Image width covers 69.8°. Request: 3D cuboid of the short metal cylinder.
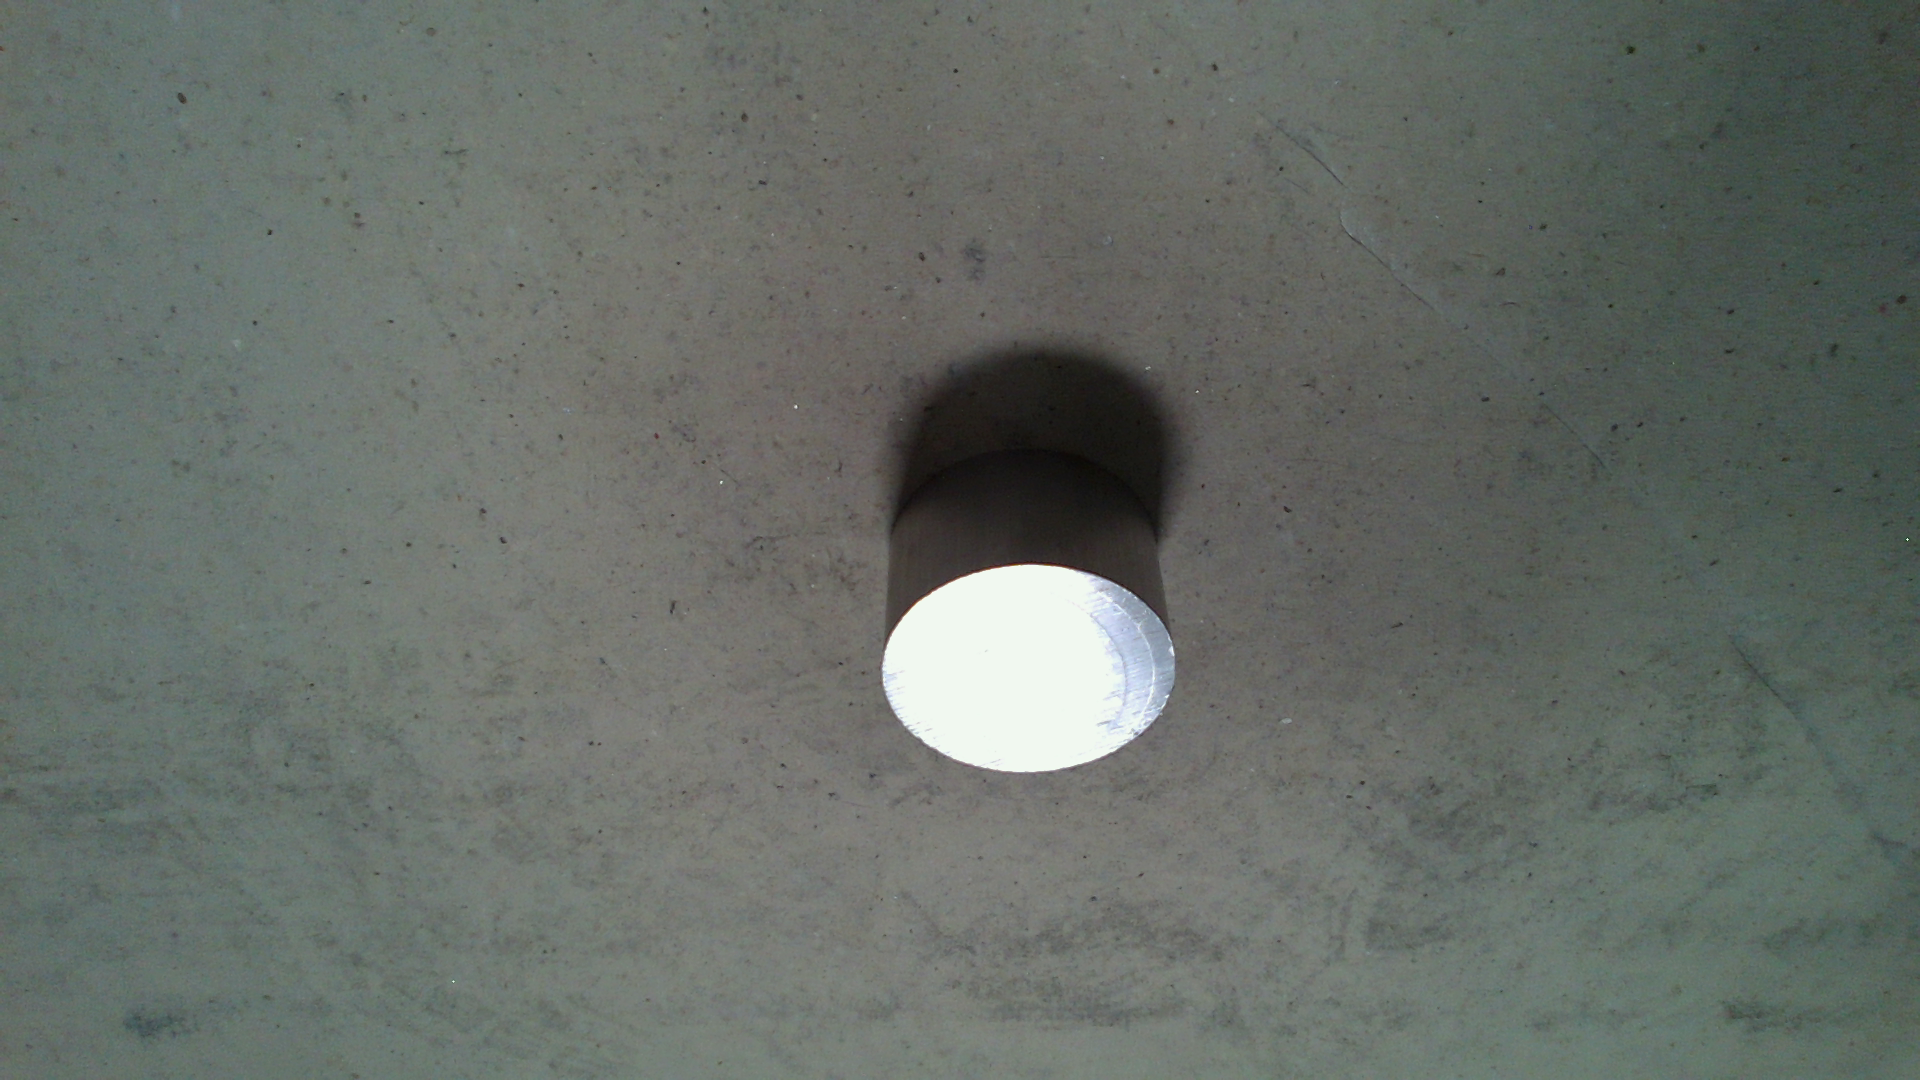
[{"bbox_3d":[0.019,0.020,0.392,0.080,0.050,0.080,0,130,0],"label":"short metal cylinder"}]
